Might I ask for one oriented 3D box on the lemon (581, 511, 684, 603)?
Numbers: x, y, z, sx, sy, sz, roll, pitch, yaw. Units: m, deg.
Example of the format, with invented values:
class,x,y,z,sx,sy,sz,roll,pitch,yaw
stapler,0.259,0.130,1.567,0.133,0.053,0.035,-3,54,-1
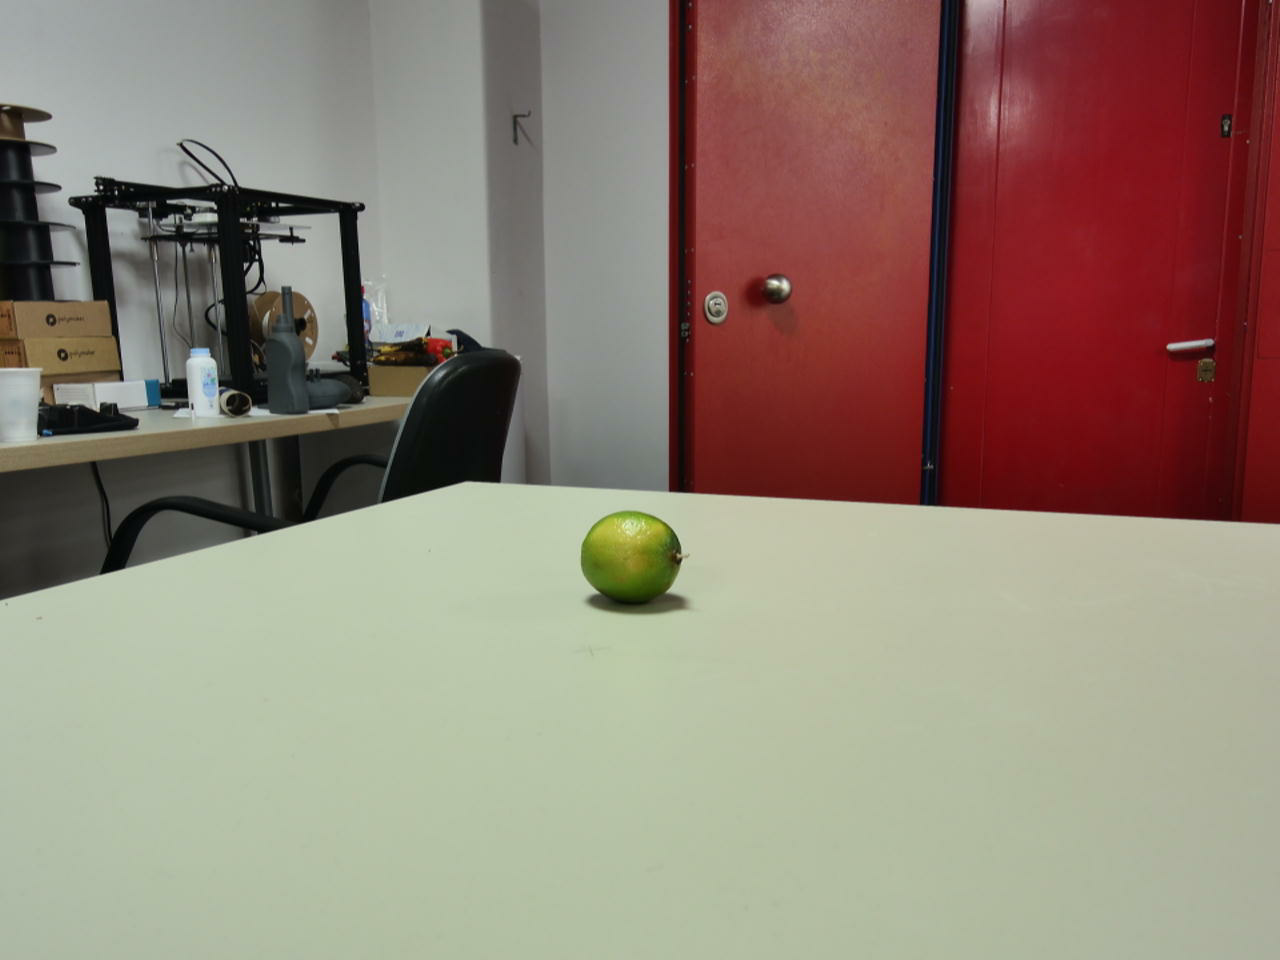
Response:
class,x,y,z,sx,sy,sz,roll,pitch,yaw
lemon,-0.005,0.043,0.558,0.054,0.050,0.055,-3,6,-16
